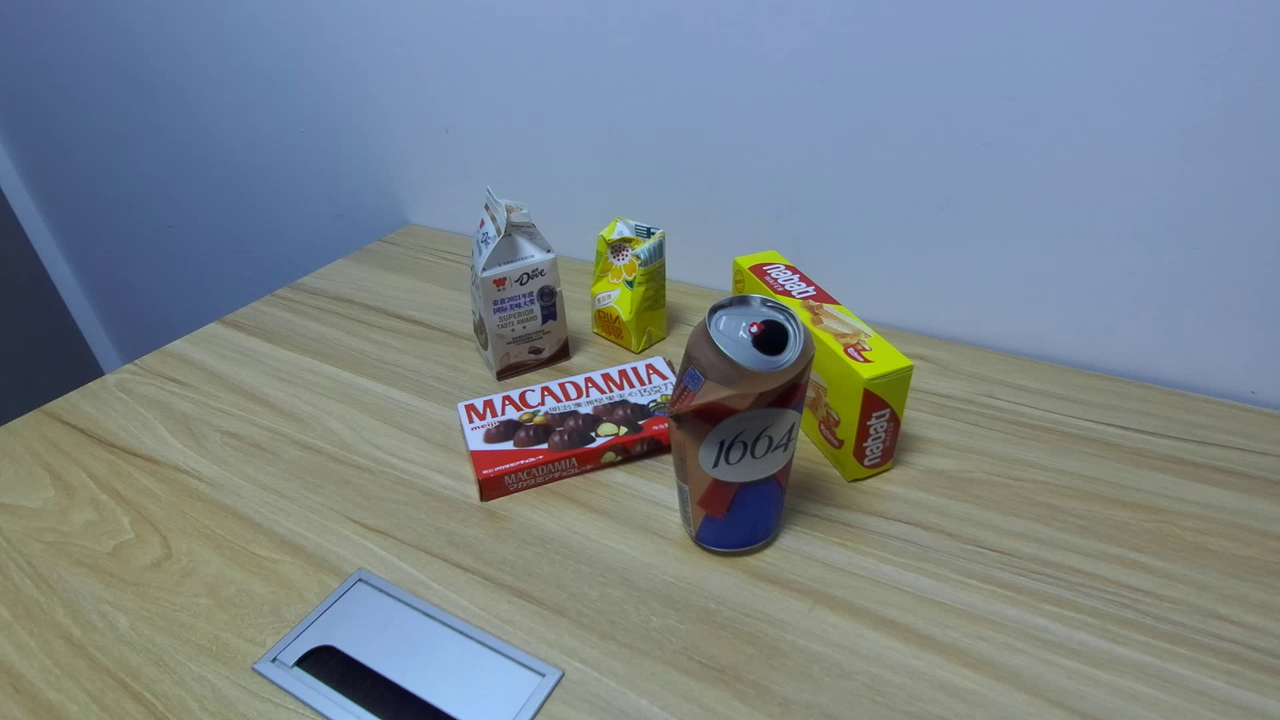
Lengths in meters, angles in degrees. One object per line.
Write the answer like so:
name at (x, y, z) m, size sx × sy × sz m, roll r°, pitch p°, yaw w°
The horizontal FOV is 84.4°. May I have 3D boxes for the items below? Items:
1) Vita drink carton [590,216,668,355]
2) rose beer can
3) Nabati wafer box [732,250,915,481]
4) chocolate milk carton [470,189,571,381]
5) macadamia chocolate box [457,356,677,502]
Vita drink carton at (-0.013, -0.069, 0.652) m, size 0.071 × 0.110 × 0.046 m, roll 26°, pitch 40°, yaw 38°
rose beer can at (0.059, 0.043, 0.428) m, size 0.069 × 0.168 × 0.069 m, roll 13°, pitch 39°, yaw 18°
Nabati wafer box at (0.132, -0.004, 0.561) m, size 0.042 × 0.093 × 0.202 m, roll -13°, pitch 35°, yaw -14°
chocolate milk carton at (-0.114, -0.073, 0.624) m, size 0.073 × 0.155 × 0.084 m, roll -17°, pitch 37°, yaw -20°
macadamia chocolate box at (-0.042, 0.049, 0.557) m, size 0.187 × 0.027 × 0.102 m, roll -14°, pitch 38°, yaw -16°
